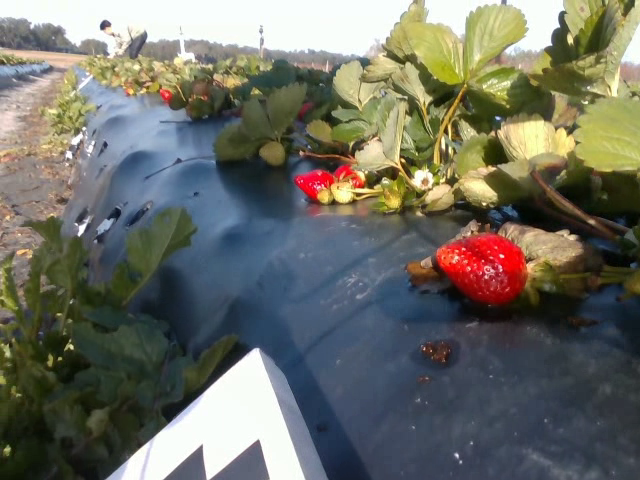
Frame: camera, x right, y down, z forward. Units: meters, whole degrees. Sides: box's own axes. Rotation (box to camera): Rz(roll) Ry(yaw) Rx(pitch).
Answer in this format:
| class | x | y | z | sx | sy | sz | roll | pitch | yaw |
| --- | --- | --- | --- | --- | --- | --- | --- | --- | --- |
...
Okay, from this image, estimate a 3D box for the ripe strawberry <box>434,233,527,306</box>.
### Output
| class | x | y | z | sx | sy | sz | roll | pitch | yaw |
| --- | --- | --- | --- | --- | --- | --- | --- | --- | --- |
| ripe strawberry | 0.066 | 0.011 | 0.285 | 0.054 | 0.038 | 0.047 | 7 | 31 | -4 |
